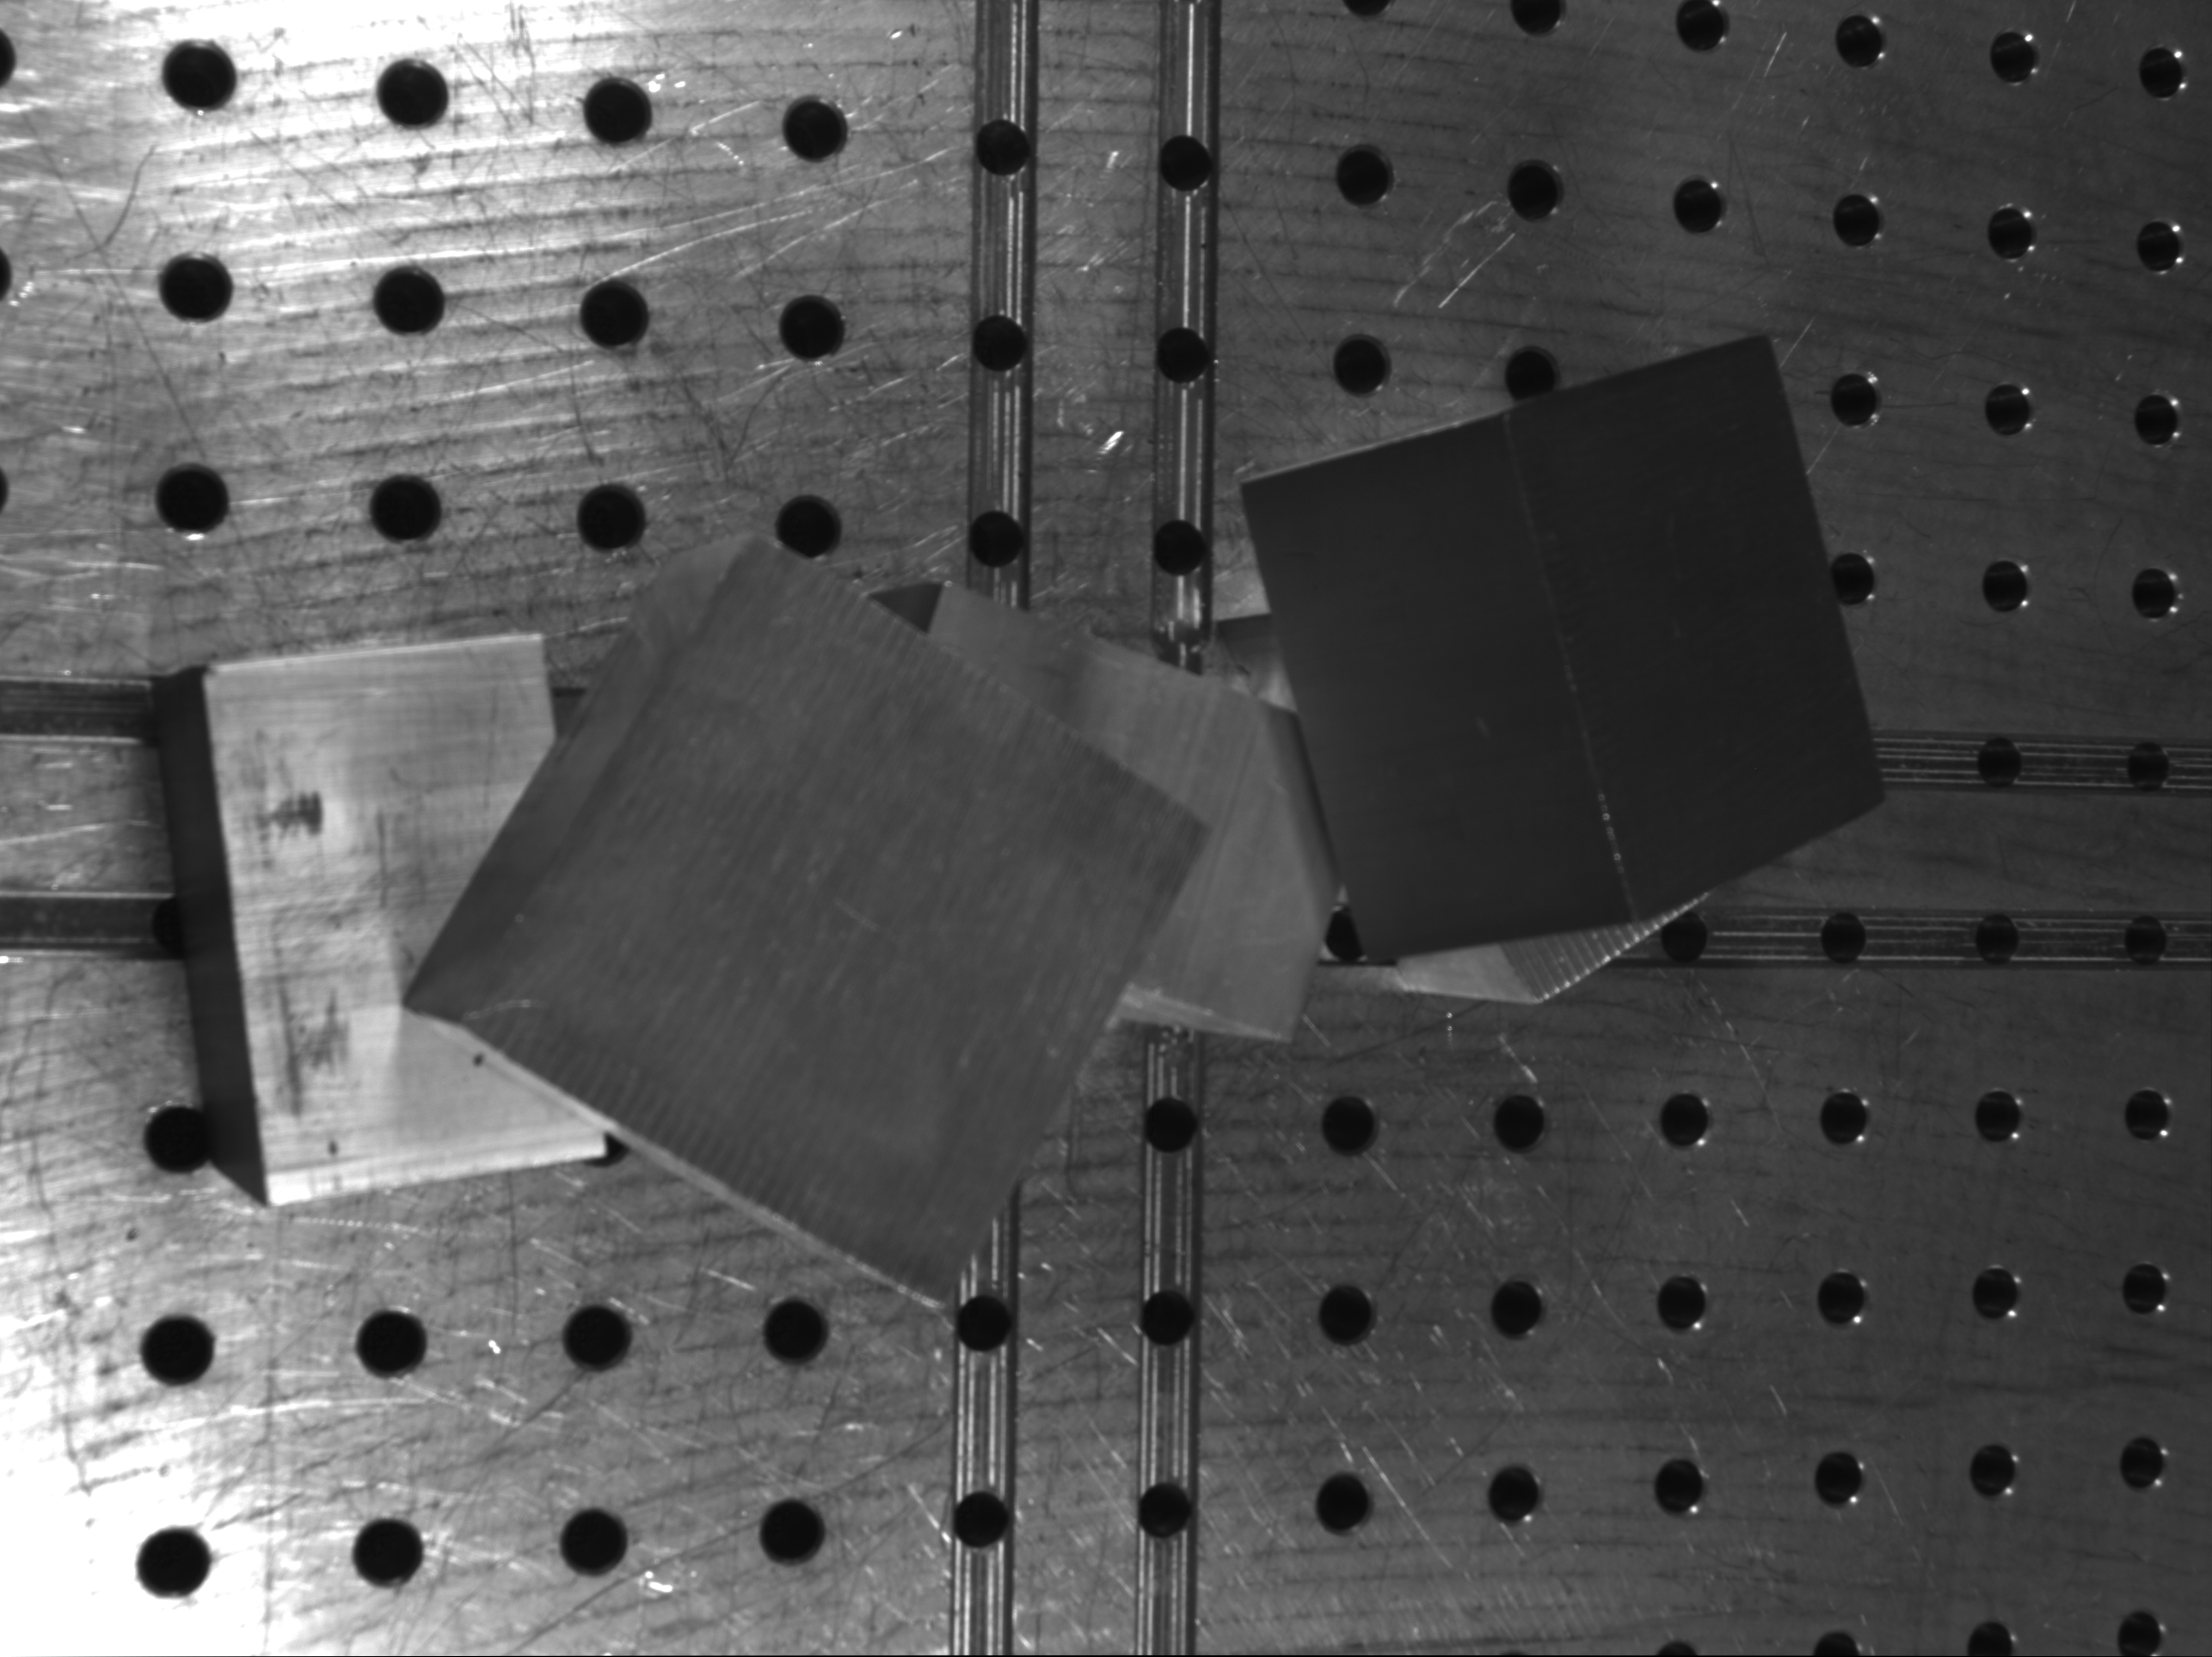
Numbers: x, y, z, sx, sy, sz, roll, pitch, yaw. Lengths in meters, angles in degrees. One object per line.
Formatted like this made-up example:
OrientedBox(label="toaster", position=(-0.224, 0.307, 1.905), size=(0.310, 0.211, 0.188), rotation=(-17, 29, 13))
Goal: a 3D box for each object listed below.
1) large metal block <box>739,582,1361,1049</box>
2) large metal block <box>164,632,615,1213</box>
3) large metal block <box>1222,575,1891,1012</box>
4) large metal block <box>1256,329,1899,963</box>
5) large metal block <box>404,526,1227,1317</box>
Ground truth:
OrientedBox(label="large metal block", position=(-0.009, -0.001, 0.613), size=(0.080, 0.080, 0.050), rotation=(20, 83, -19))
OrientedBox(label="large metal block", position=(-0.114, 0.013, 0.575), size=(0.050, 0.080, 0.080), rotation=(-6, 92, -20))
OrientedBox(label="large metal block", position=(0.081, -0.023, 0.662), size=(0.080, 0.050, 0.080), rotation=(-32, 100, -17))
OrientedBox(label="large metal block", position=(0.077, -0.030, 0.588), size=(0.080, 0.050, 0.080), rotation=(-21, 98, -48))
OrientedBox(label="large metal block", position=(-0.043, 0.014, 0.531), size=(0.080, 0.050, 0.080), rotation=(33, 79, -16))
